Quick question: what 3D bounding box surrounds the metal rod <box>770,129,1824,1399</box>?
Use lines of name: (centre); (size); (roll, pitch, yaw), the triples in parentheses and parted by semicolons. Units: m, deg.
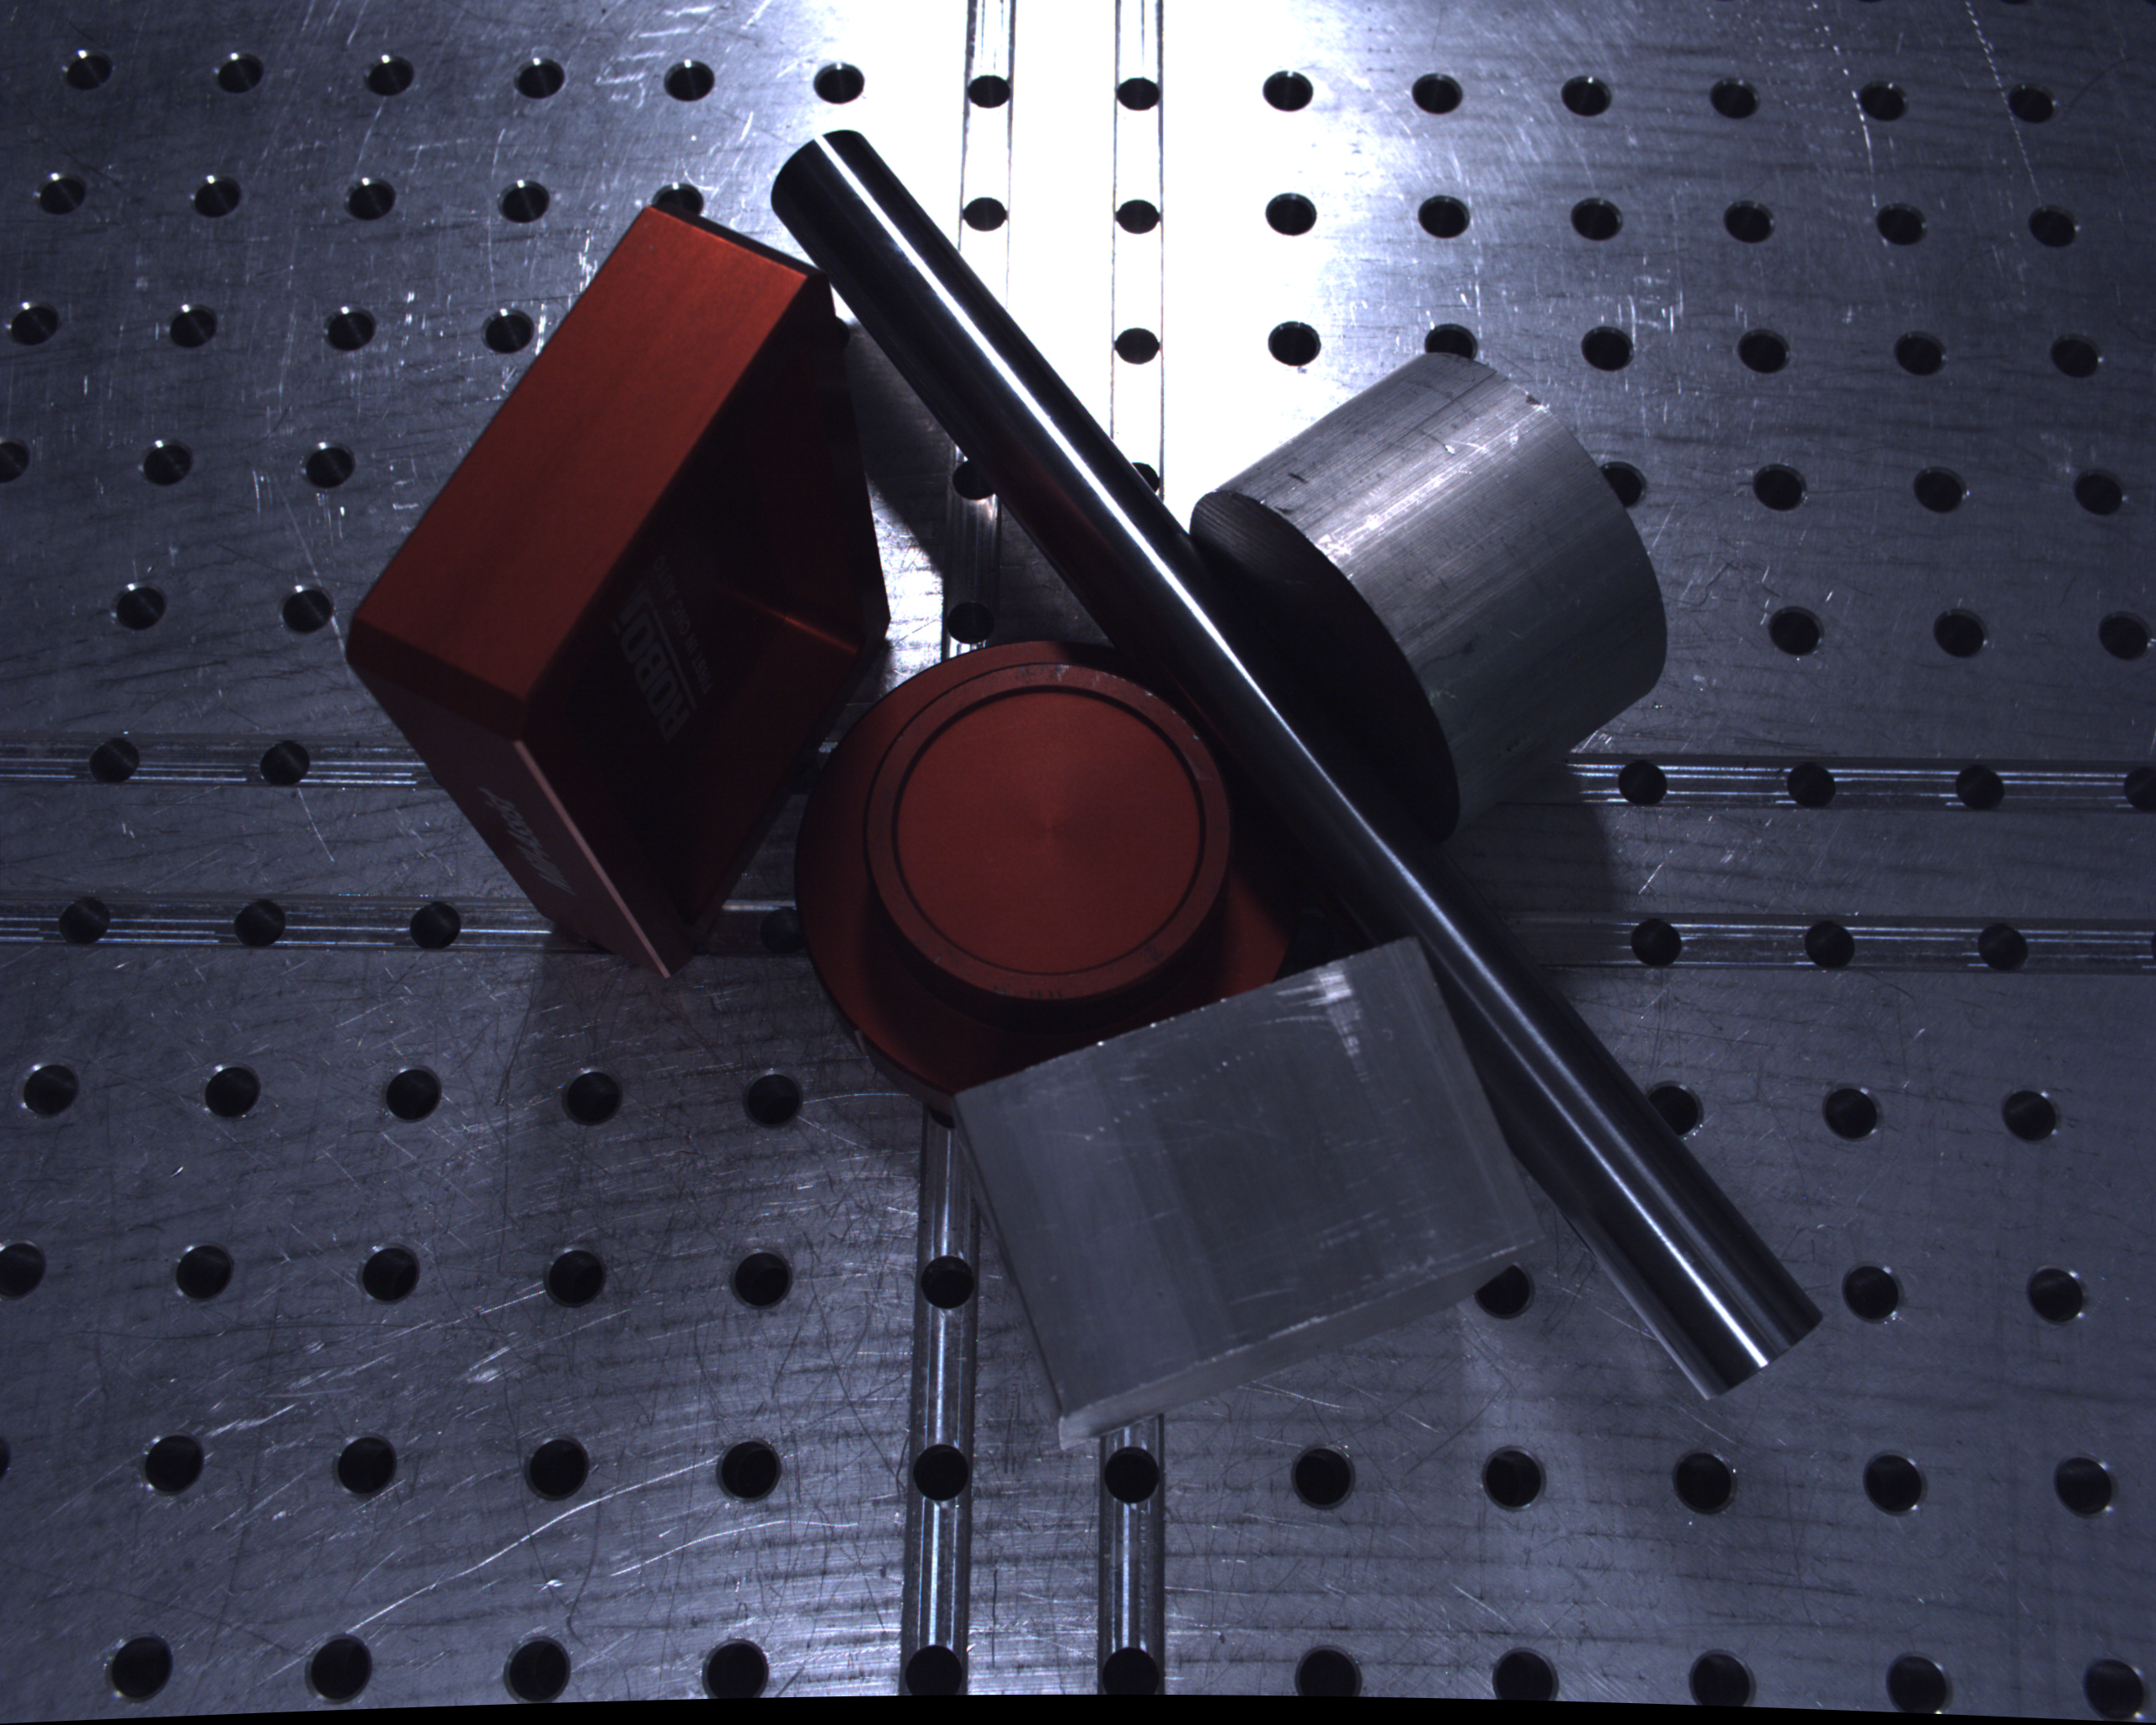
metal rod: (0.032, -0.030, 0.401); (0.025, 0.025, 0.299); (-34, 74, -12)

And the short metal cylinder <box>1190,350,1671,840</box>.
short metal cylinder: (0.066, -0.050, 0.400); (0.050, 0.080, 0.080); (-35, 74, -12)

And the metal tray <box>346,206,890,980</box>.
metal tray: (-0.073, -0.040, 0.370); (0.030, 0.130, 0.090); (26, 72, 9)

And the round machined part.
round machined part: (-0.006, 0.001, 0.402); (0.099, 0.042, 0.098); (0, 70, -1)

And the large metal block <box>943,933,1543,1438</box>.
large metal block: (0.025, 0.059, 0.361); (0.081, 0.080, 0.050); (-18, 71, -7)
